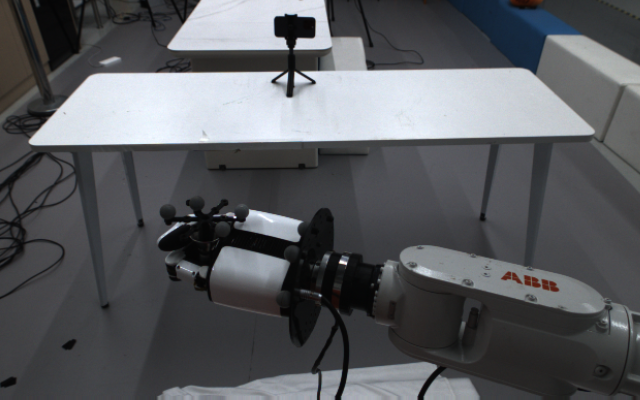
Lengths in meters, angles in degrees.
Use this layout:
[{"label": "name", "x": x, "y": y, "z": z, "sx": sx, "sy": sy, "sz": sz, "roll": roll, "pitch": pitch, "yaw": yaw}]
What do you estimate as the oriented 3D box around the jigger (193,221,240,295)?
[{"label": "jigger", "x": -0.129, "y": 0.064, "z": 0.581, "sx": 0.043, "sy": 0.071, "sz": 0.043, "roll": 4, "pitch": 31, "yaw": -2}]
